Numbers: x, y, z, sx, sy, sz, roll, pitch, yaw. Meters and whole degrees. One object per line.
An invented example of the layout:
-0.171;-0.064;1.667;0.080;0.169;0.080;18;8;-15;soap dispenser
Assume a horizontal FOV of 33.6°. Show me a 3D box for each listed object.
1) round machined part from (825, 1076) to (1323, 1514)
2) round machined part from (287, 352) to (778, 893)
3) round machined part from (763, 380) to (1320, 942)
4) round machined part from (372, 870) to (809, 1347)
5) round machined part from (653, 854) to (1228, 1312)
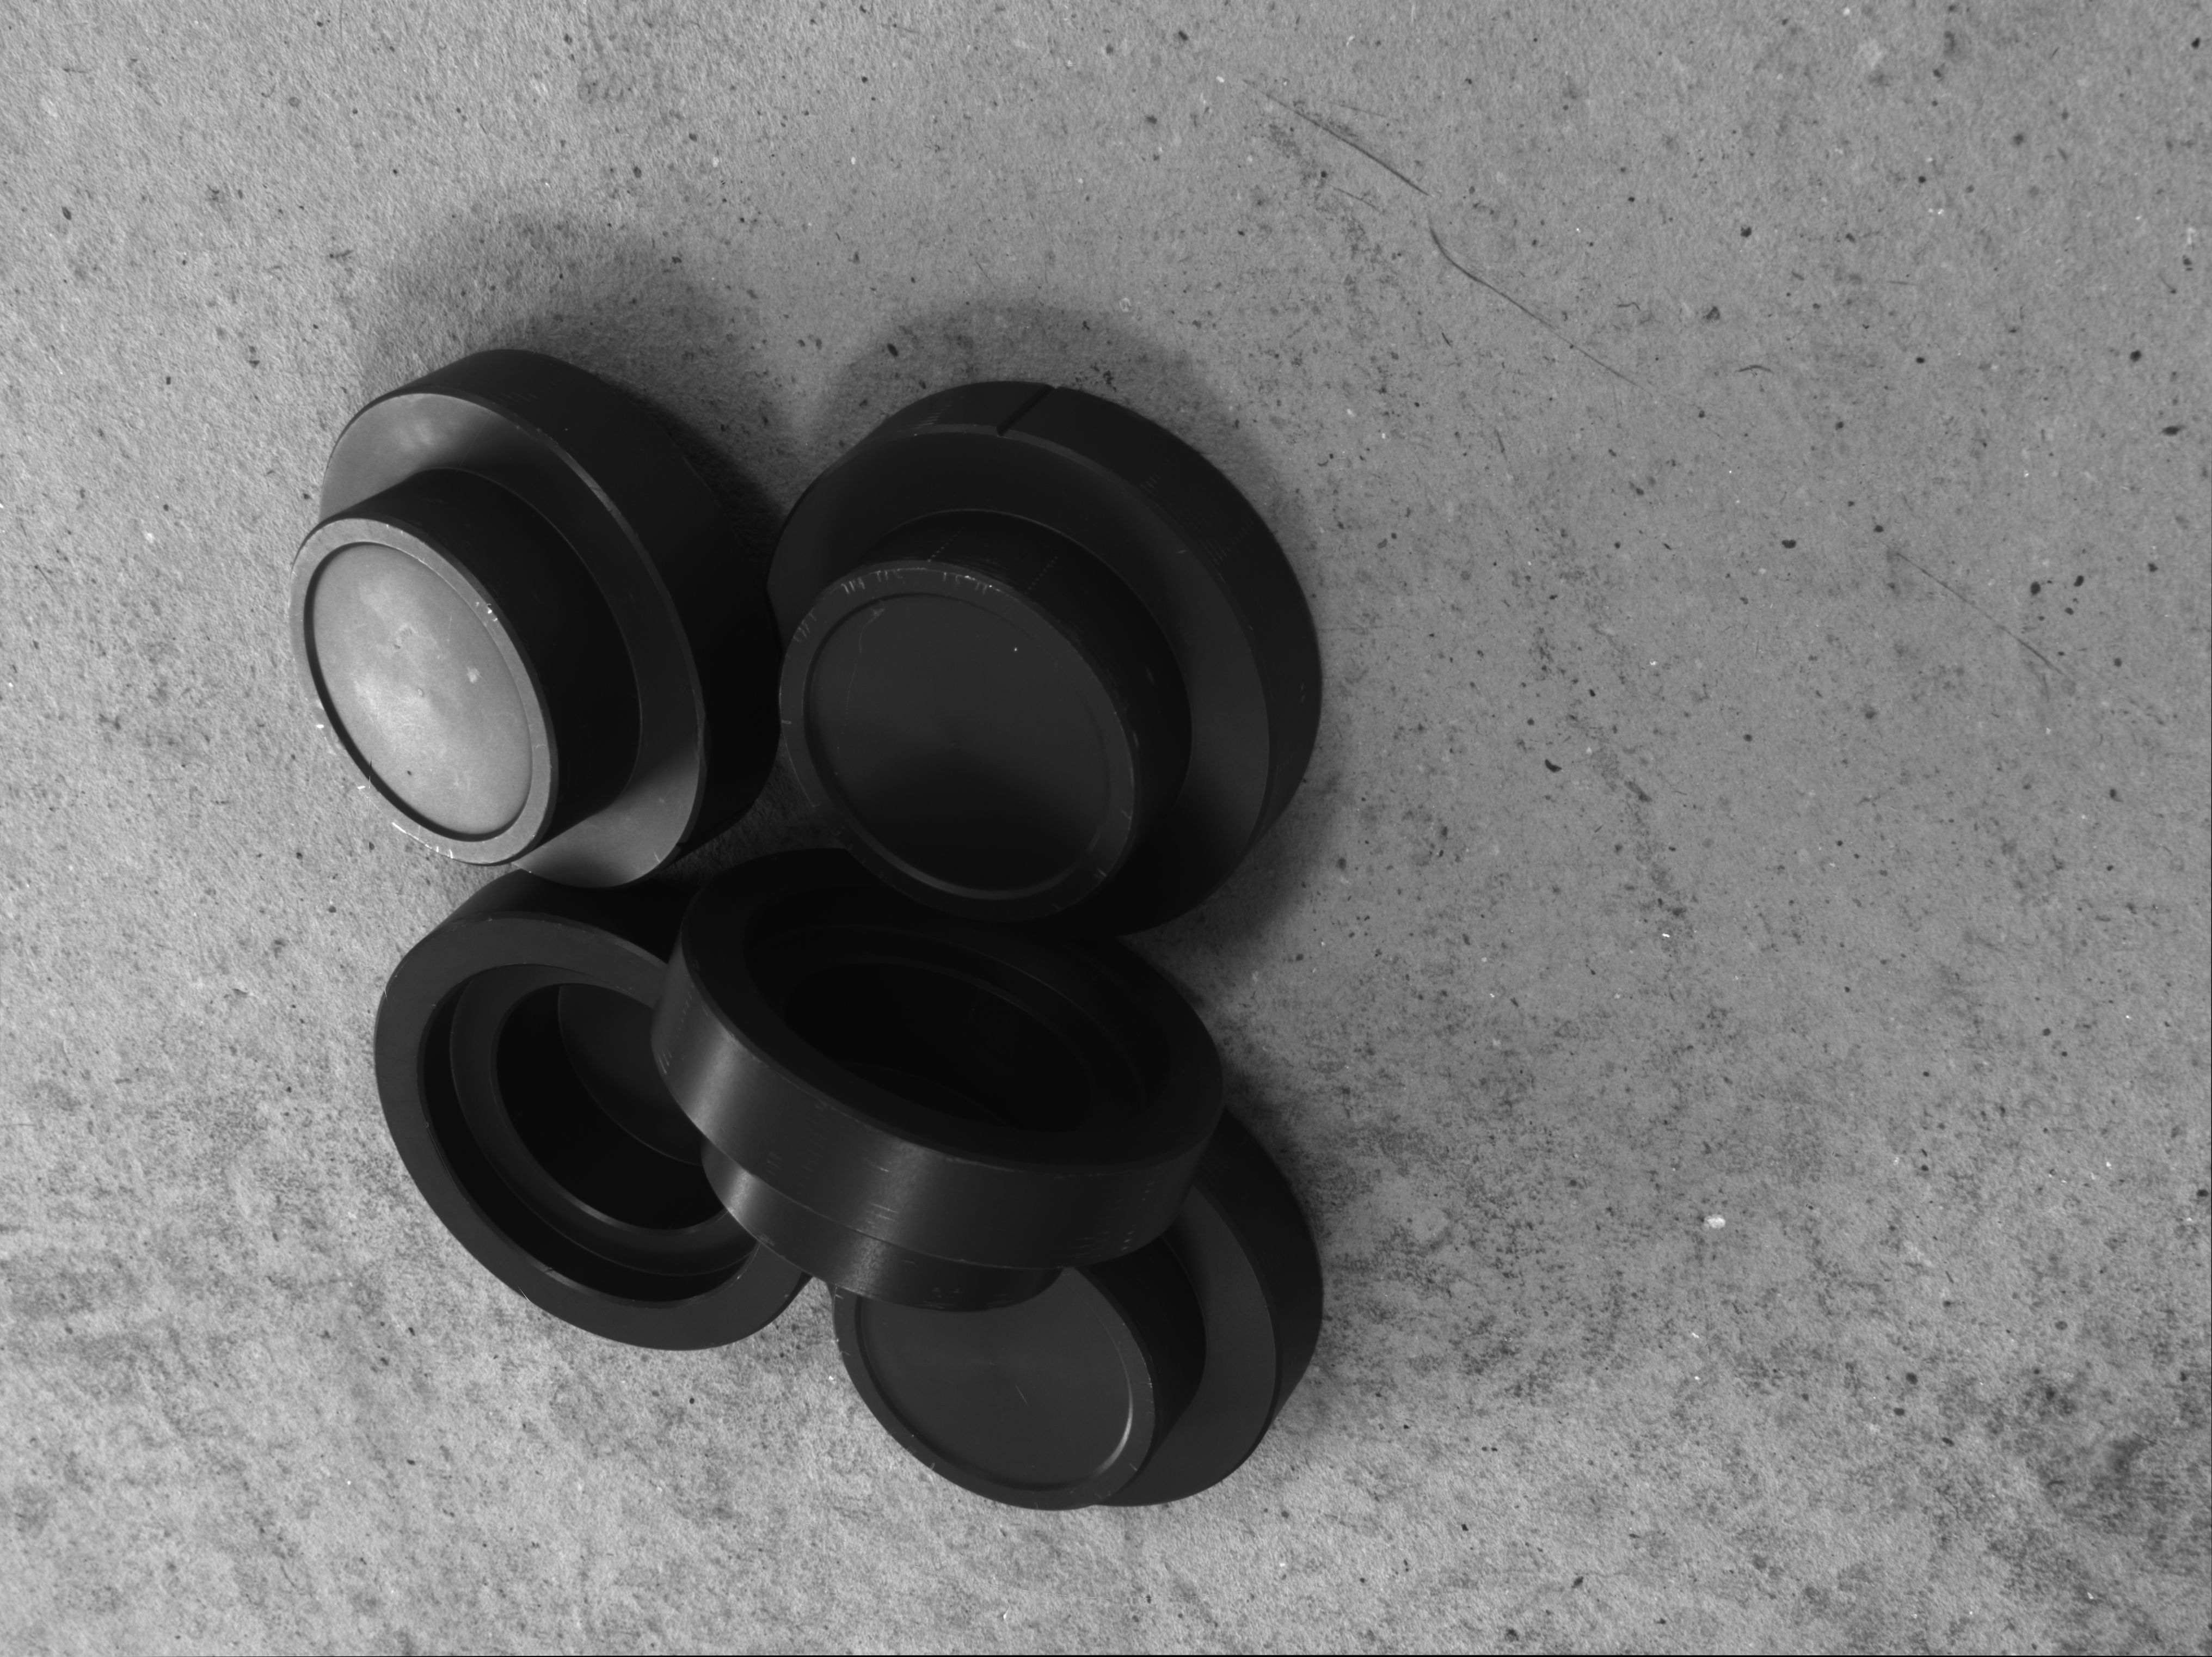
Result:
-0.012;0.089;0.693;0.098;0.042;0.098;12;122;21;round machined part
-0.108;-0.032;0.656;0.098;0.042;0.098;23;130;31;round machined part
-0.016;-0.023;0.626;0.098;0.042;0.098;13;122;21;round machined part
-0.089;0.049;0.709;0.098;0.042;0.098;14;125;20;round machined part
-0.032;0.047;0.638;0.098;0.098;0.042;26;114;12;round machined part
